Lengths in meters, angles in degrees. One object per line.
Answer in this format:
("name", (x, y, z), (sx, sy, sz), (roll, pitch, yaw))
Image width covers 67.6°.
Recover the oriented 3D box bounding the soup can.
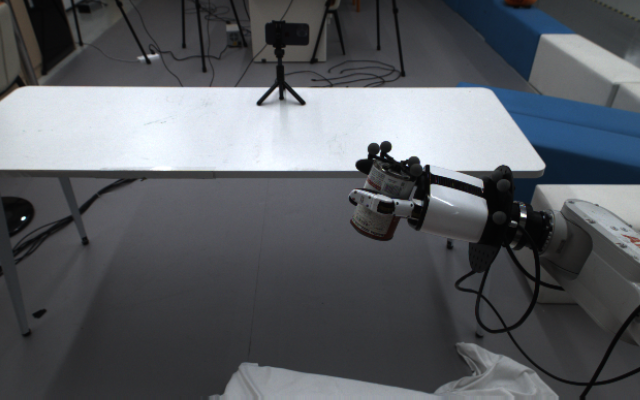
("soup can", (0.093, -0.001, 0.702), (0.067, 0.101, 0.067), (17, 21, -7))
